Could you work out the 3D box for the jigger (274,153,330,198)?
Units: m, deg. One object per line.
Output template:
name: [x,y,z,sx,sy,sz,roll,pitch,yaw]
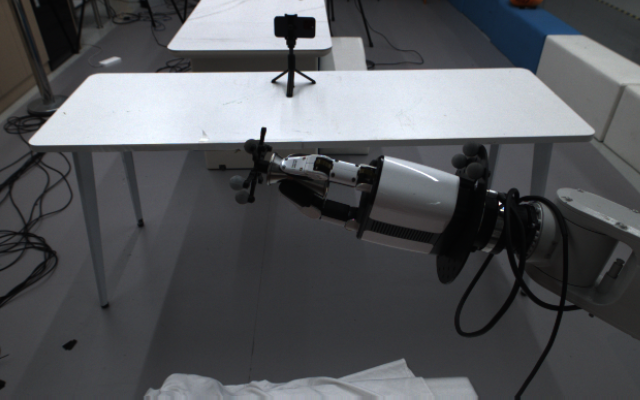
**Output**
jigger: [-0.016,-0.032,0.553,0.071,0.043,0.043,13,36,4]
